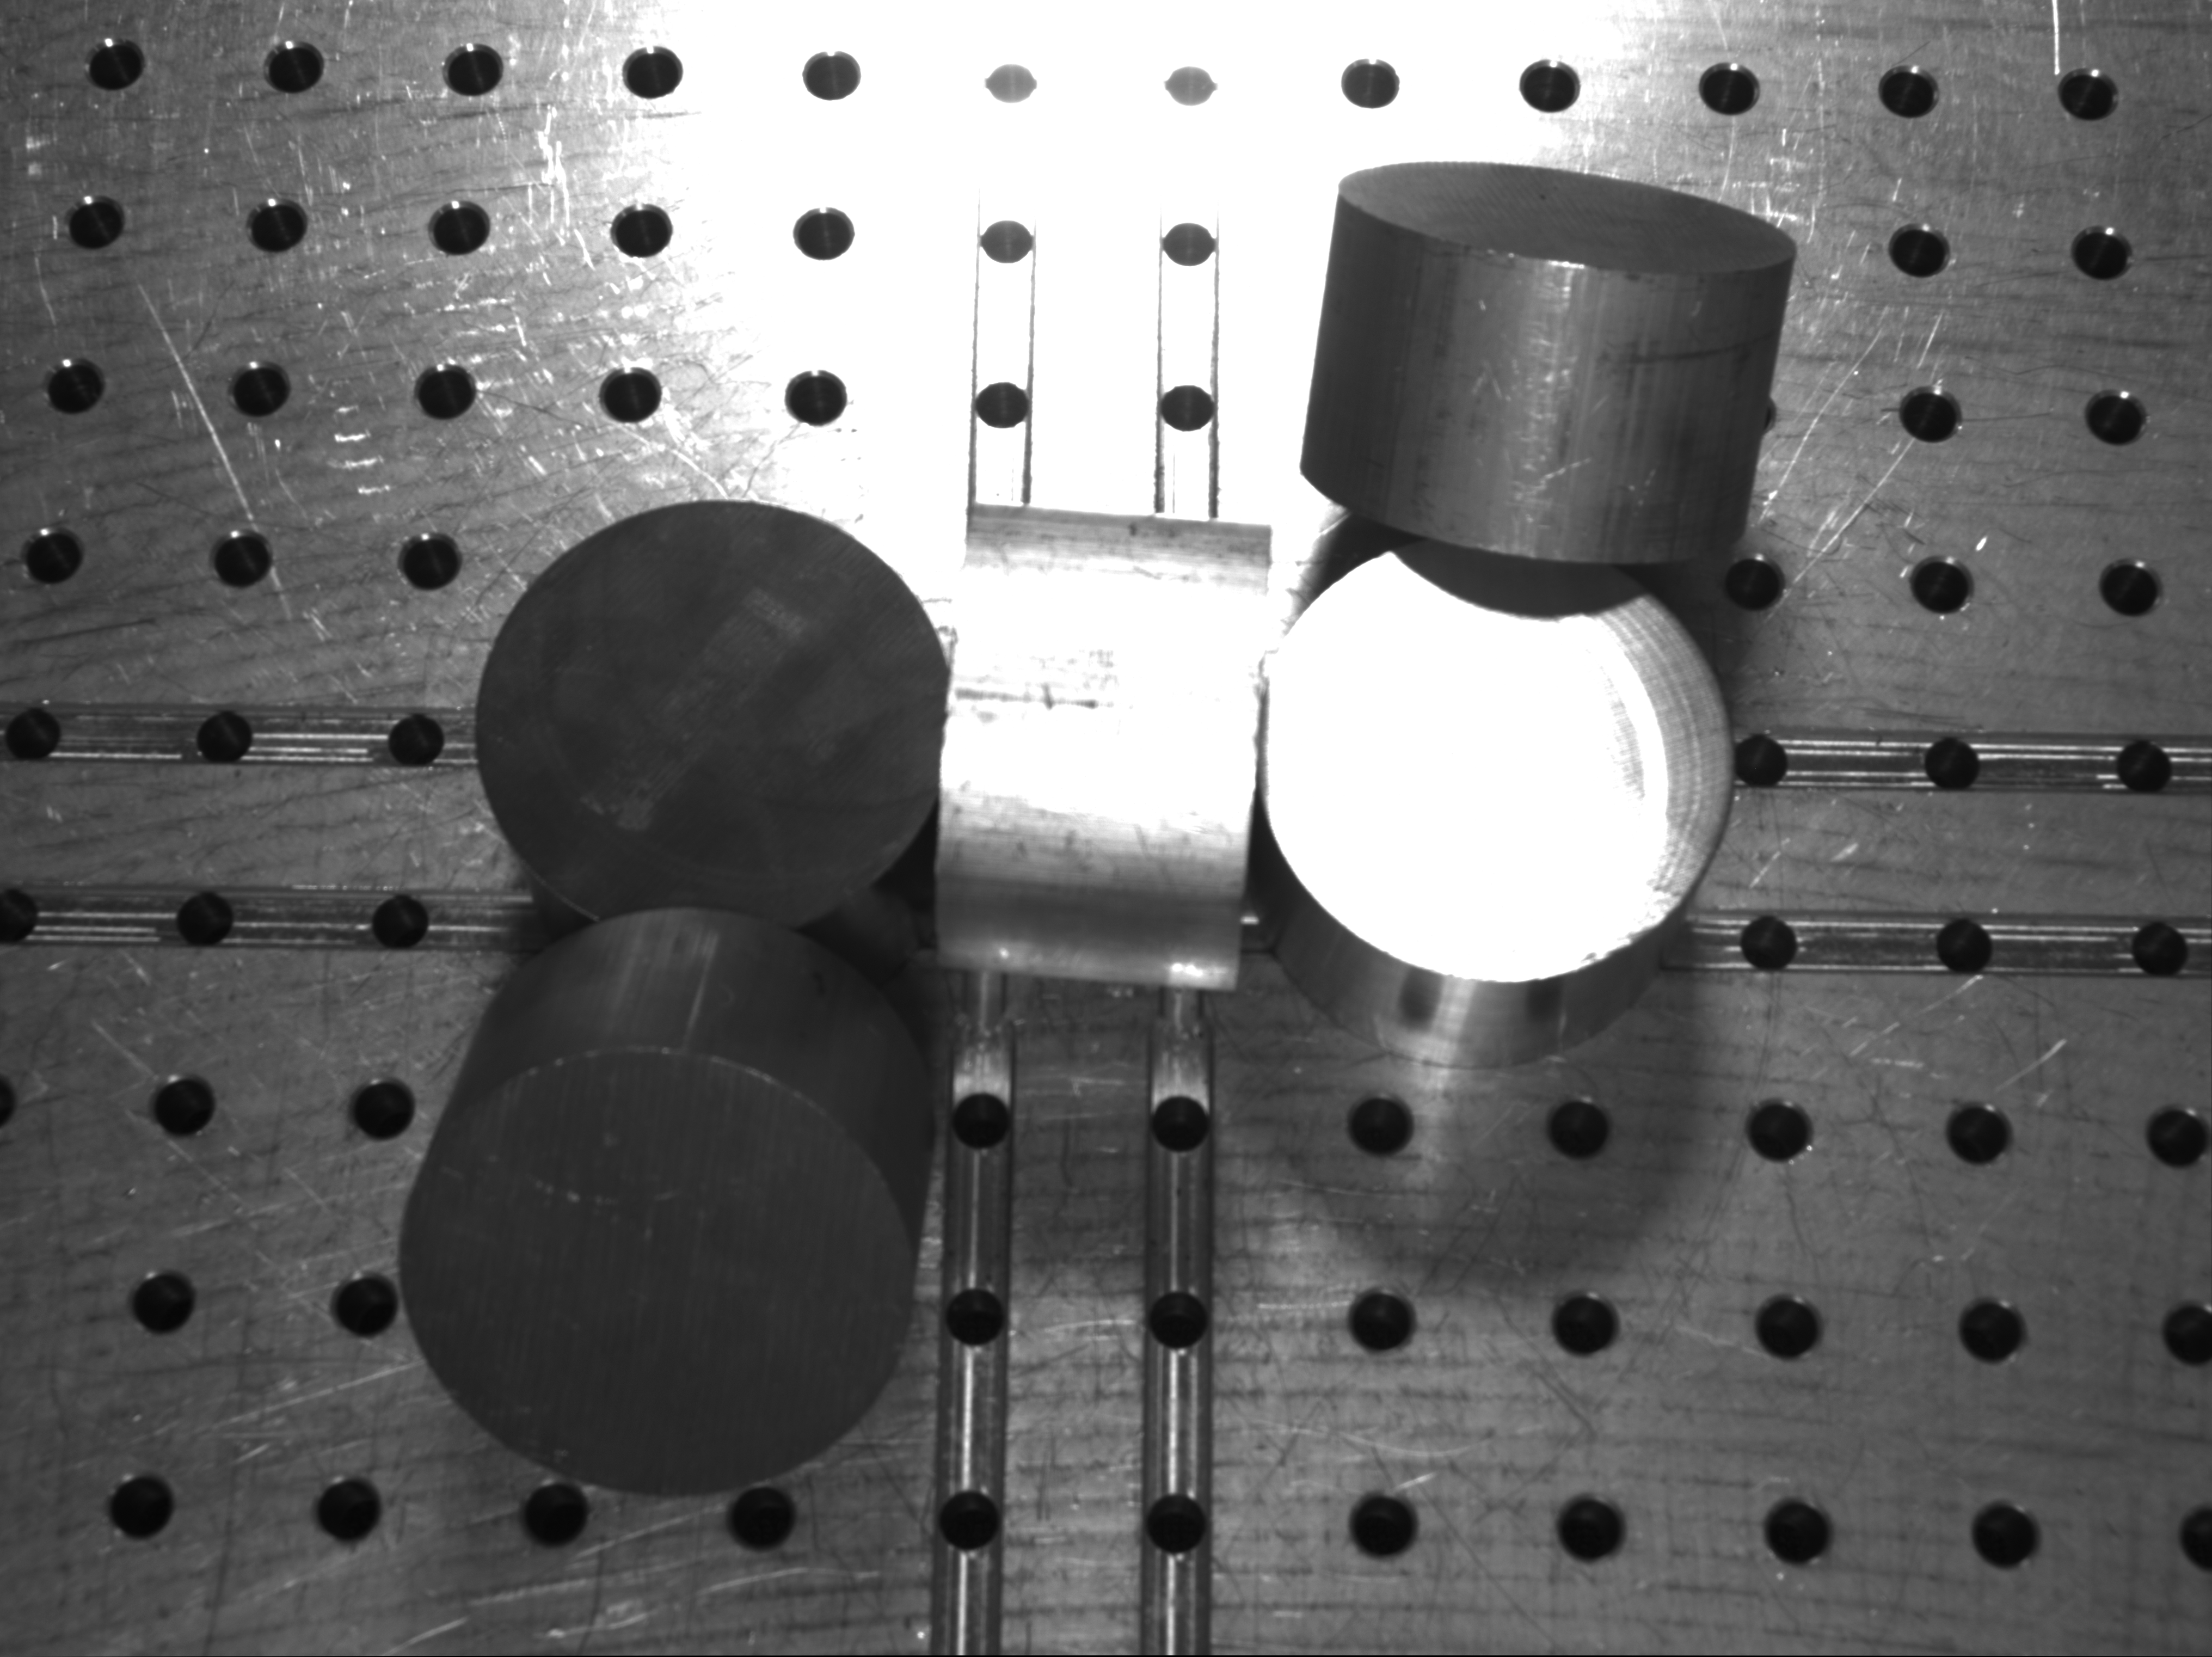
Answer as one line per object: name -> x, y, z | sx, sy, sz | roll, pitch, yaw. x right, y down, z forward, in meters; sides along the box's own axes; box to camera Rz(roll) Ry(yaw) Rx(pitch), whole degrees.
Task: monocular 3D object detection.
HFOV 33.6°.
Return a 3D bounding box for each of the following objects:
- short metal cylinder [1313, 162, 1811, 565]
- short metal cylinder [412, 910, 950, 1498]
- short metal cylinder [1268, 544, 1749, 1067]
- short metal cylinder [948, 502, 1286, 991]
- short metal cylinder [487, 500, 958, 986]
short metal cylinder -> 0.079, -0.083, 0.641 | 0.080, 0.080, 0.050 | 8, 112, 3
short metal cylinder -> -0.067, 0.060, 0.590 | 0.080, 0.050, 0.080 | 0, 114, 1
short metal cylinder -> 0.067, -0.004, 0.635 | 0.080, 0.050, 0.080 | 0, 70, 0
short metal cylinder -> 0.002, -0.014, 0.623 | 0.050, 0.080, 0.080 | 5, 70, 2
short metal cylinder -> -0.063, -0.010, 0.637 | 0.080, 0.050, 0.080 | 0, 70, 0
